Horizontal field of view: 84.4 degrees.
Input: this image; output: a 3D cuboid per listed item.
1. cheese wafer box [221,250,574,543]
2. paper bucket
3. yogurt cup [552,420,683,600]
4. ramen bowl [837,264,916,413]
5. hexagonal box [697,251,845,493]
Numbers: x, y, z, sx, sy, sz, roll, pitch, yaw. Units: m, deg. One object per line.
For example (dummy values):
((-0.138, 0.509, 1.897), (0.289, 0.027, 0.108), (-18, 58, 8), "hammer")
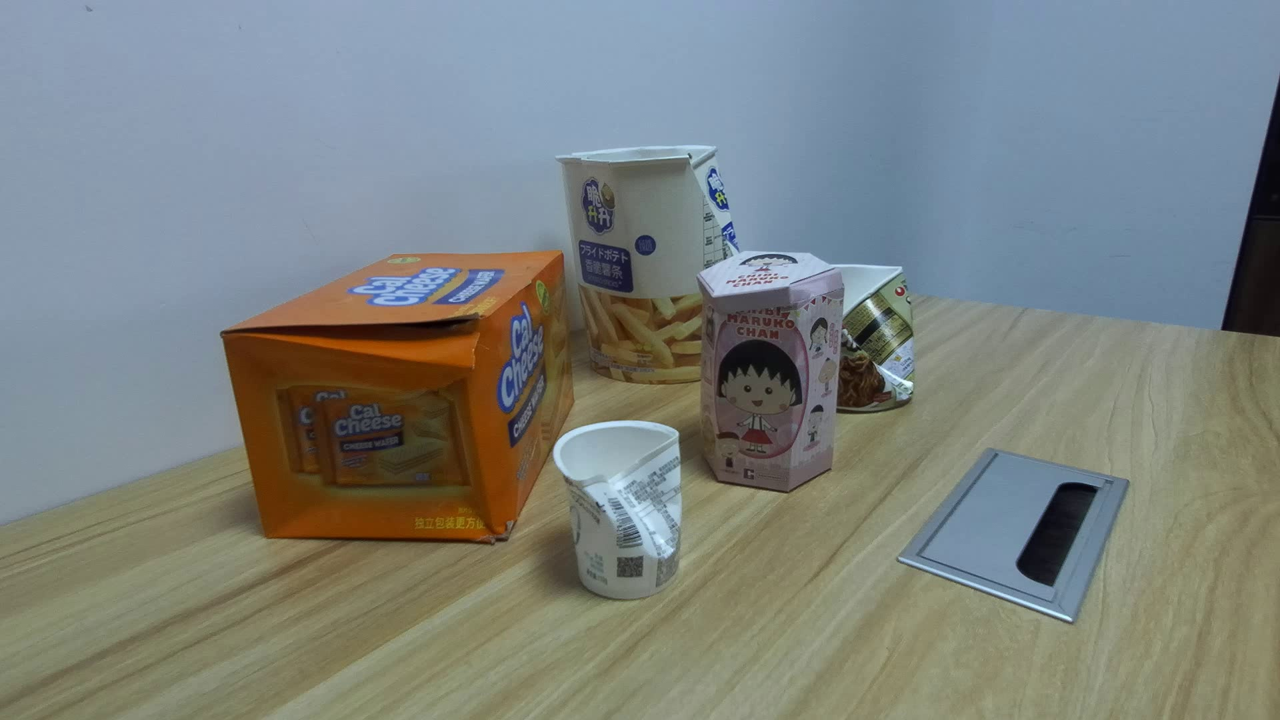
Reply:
((-0.138, 0.008, 0.481), (0.149, 0.137, 0.227), (0, 18, 5), "cheese wafer box")
((0.023, -0.089, 0.645), (0.169, 0.202, 0.162), (-9, 21, -12), "paper bucket")
((-0.009, 0.076, 0.360), (0.067, 0.070, 0.067), (-4, 21, 2), "yogurt cup")
((0.168, -0.023, 0.590), (0.137, 0.098, 0.137), (-1, 16, 1), "ramen bowl")
((0.083, 0.005, 0.456), (0.092, 0.135, 0.085), (6, 21, 22), "hexagonal box")
